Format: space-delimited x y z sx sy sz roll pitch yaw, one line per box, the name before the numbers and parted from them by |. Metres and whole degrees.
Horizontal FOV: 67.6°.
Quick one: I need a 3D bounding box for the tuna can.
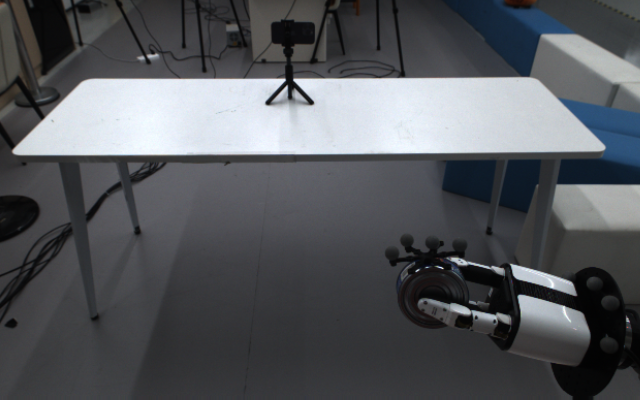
tuna can | 0.140 0.111 0.593 0.085 0.085 0.034 6 18 5
